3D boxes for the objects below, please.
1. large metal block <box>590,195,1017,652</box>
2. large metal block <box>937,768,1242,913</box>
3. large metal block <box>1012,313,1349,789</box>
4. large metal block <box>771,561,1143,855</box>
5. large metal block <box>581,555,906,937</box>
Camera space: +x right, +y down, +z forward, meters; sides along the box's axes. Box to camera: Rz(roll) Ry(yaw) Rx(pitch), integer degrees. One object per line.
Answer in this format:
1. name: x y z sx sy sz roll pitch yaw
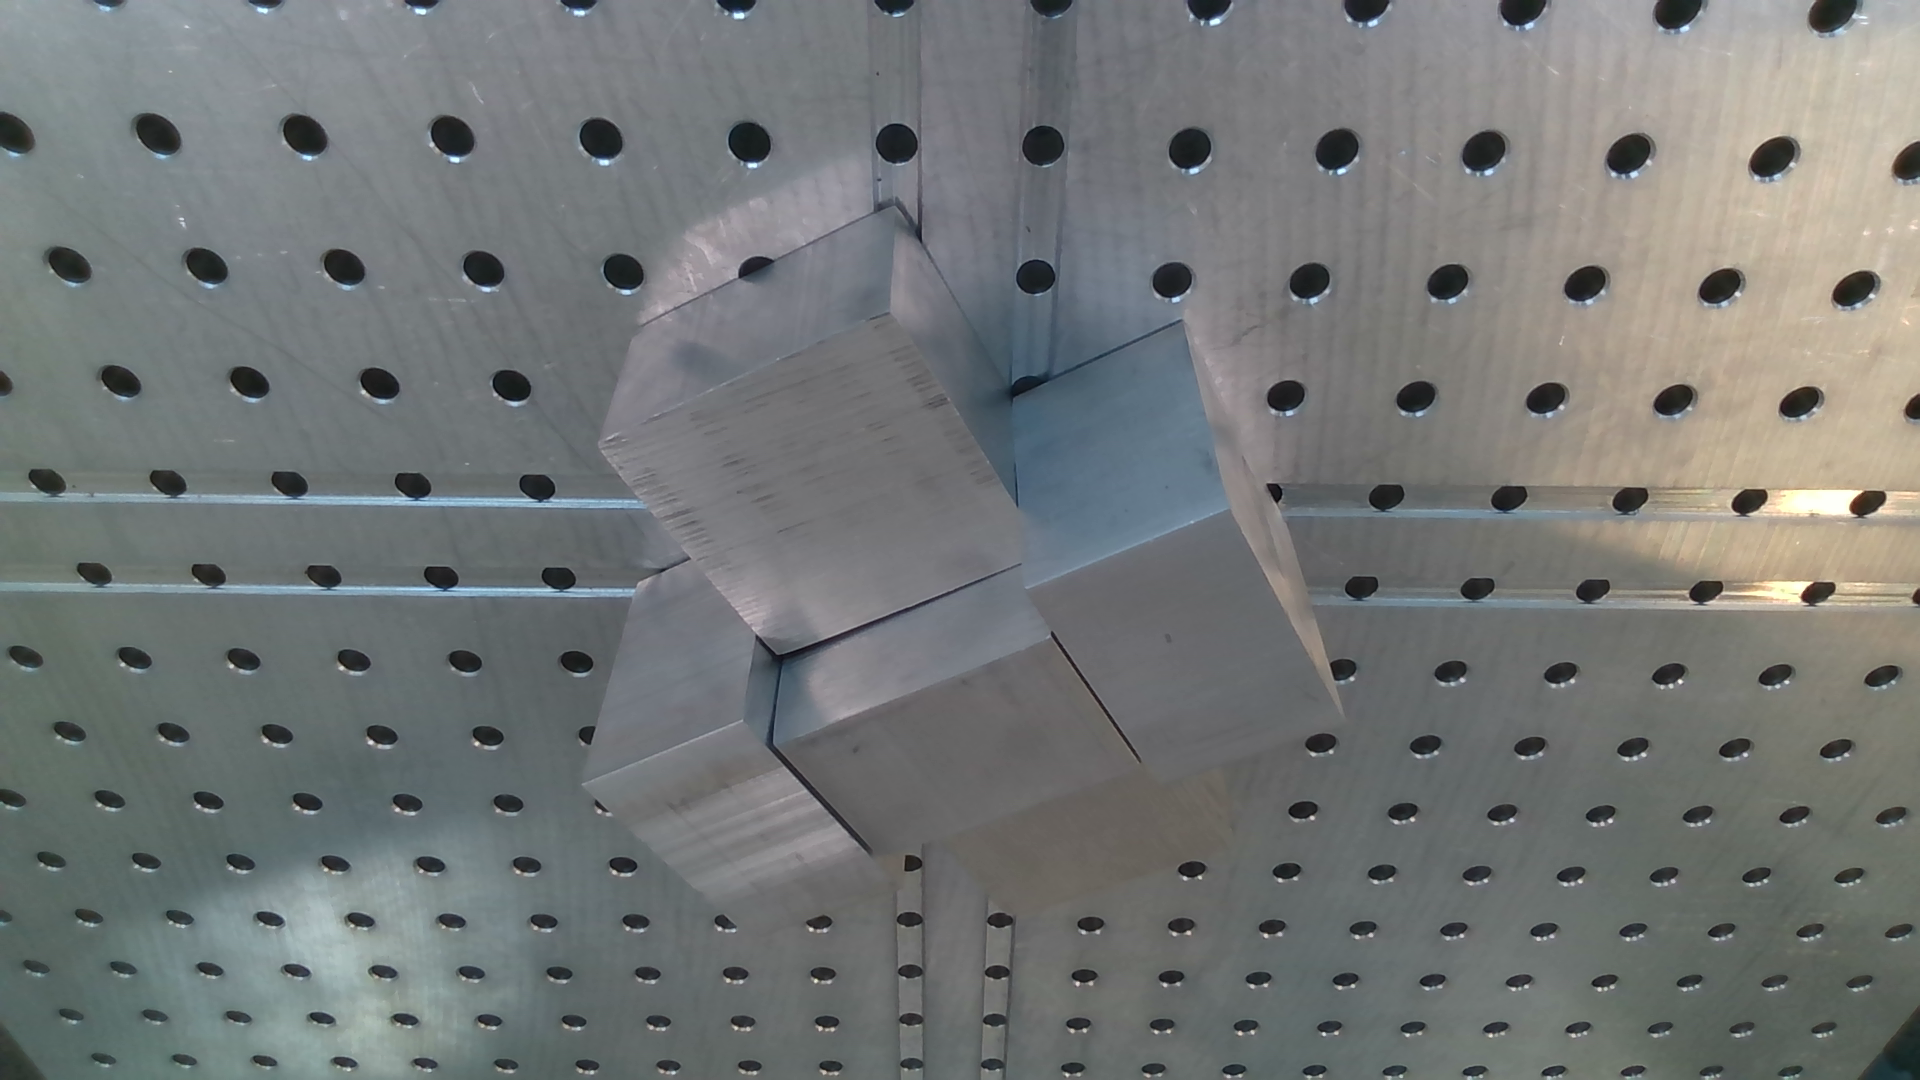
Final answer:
1. large metal block: -0.033 -0.027 0.353 0.080 0.050 0.080 -21 127 16
2. large metal block: 0.032 0.064 0.427 0.080 0.050 0.080 -22 127 20
3. large metal block: 0.055 0.003 0.357 0.050 0.080 0.080 -23 126 17
4. large metal block: -0.001 0.029 0.379 0.080 0.080 0.050 -23 126 18
5. large metal block: -0.057 0.054 0.401 0.050 0.080 0.080 -23 127 18
